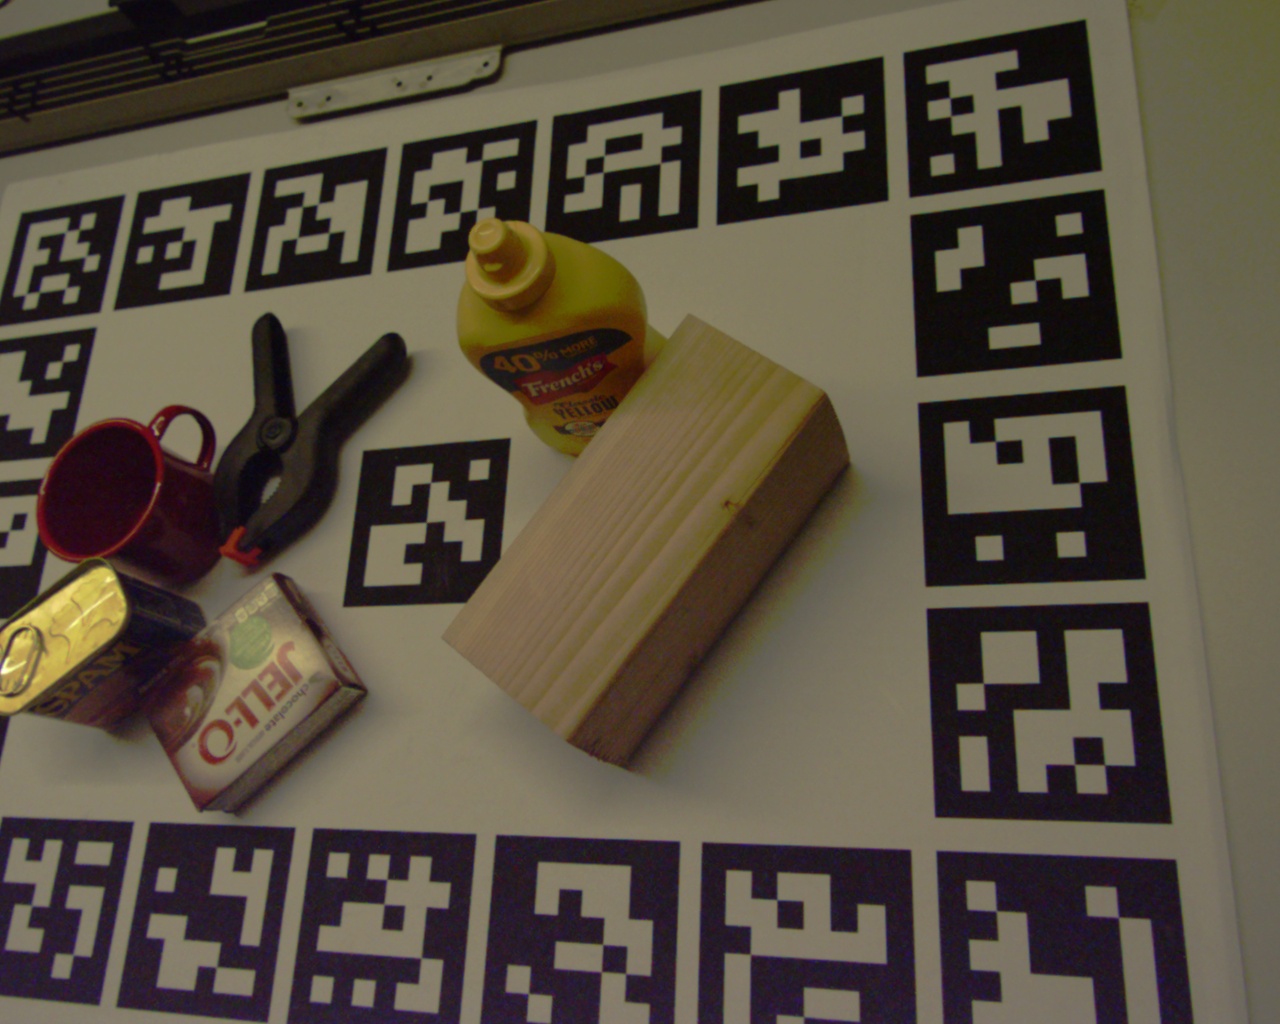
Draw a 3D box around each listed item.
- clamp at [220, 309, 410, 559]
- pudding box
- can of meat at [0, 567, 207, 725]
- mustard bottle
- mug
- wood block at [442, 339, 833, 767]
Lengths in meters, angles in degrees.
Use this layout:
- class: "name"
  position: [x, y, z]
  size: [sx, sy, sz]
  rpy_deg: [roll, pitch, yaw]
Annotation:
- class: "clamp"
  position: [-0.231, -0.049, 0.756]
  size: [0.123, 0.036, 0.165]
  rpy_deg: [16, 80, 21]
- class: "pudding box"
  position: [-0.233, 0.110, 0.697]
  size: [0.114, 0.038, 0.091]
  rpy_deg: [-41, 65, 1]
- class: "can of meat"
  position: [-0.335, 0.087, 0.709]
  size: [0.102, 0.083, 0.058]
  rpy_deg: [-33, 66, 6]
- class: "mustard bottle"
  position: [-0.050, -0.089, 0.615]
  size: [0.097, 0.189, 0.058]
  rpy_deg: [-9, 70, 16]
- class: "mug"
  position: [-0.312, -0.008, 0.765]
  size: [0.094, 0.080, 0.117]
  rpy_deg: [19, 81, 23]
- class: "wood block"
  position: [0.002, 0.023, 0.620]
  size: [0.091, 0.090, 0.206]
  rpy_deg: [35, 84, 27]
